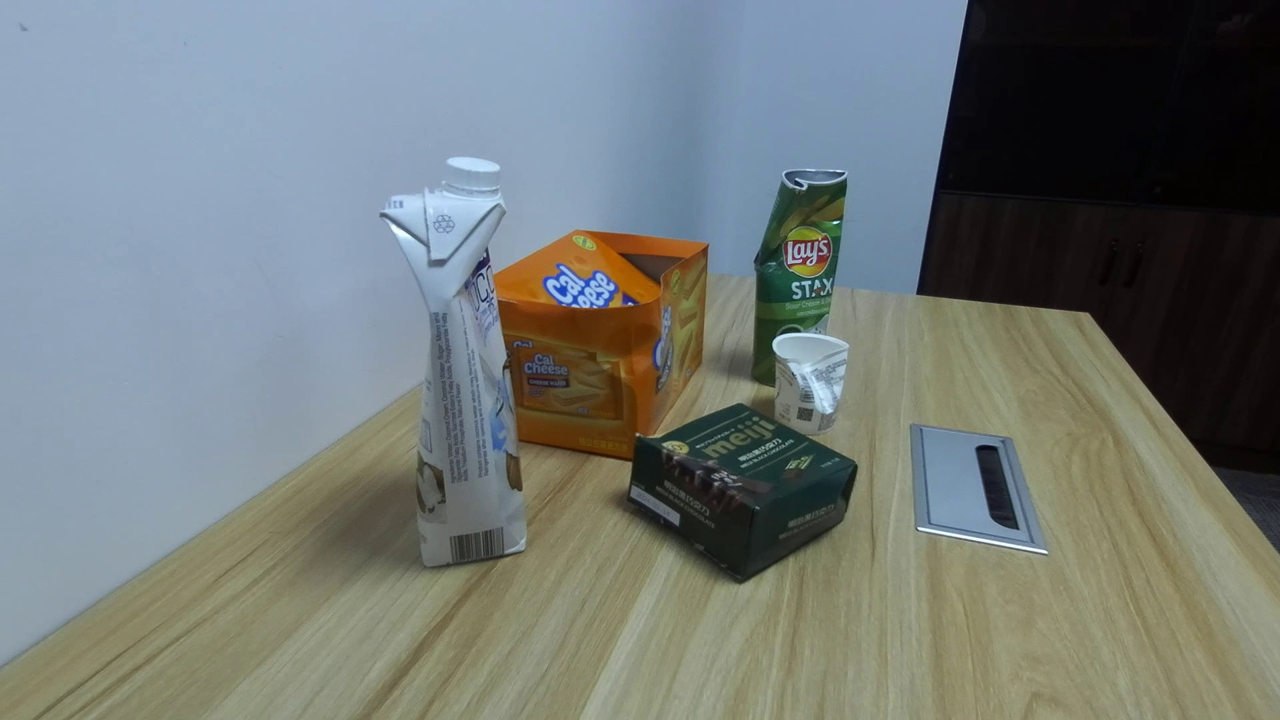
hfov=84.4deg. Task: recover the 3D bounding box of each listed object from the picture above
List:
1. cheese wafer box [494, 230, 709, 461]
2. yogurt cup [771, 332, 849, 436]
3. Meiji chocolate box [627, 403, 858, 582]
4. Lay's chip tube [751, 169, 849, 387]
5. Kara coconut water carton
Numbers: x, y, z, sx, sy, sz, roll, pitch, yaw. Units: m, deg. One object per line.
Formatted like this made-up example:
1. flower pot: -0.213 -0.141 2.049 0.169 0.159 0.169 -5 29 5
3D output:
1. cheese wafer box: -0.034 -0.023 0.636 0.152 0.132 0.231 10 23 16
2. yogurt cup: 0.142 0.019 0.603 0.067 0.070 0.067 -1 24 1
3. Meiji chocolate box: 0.070 0.083 0.481 0.116 0.058 0.122 -15 28 -39
4. Lay's chip tube: 0.148 -0.075 0.665 0.069 0.201 0.077 9 28 16
5. Kara coconut water carton: -0.106 0.005 0.422 0.069 0.238 0.115 -4 24 -14
